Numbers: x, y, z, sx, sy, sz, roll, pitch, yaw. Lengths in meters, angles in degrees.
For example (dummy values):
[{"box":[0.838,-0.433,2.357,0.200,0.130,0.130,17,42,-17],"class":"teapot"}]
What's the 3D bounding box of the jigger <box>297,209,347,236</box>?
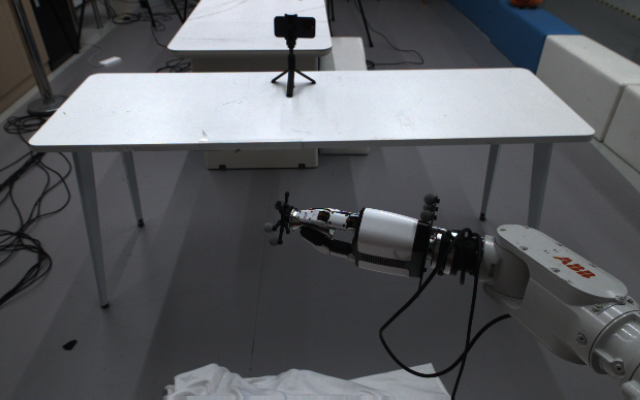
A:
[{"box":[-0.005,0.032,0.783,0.071,0.043,0.043,7,35,16],"class":"jigger"}]
